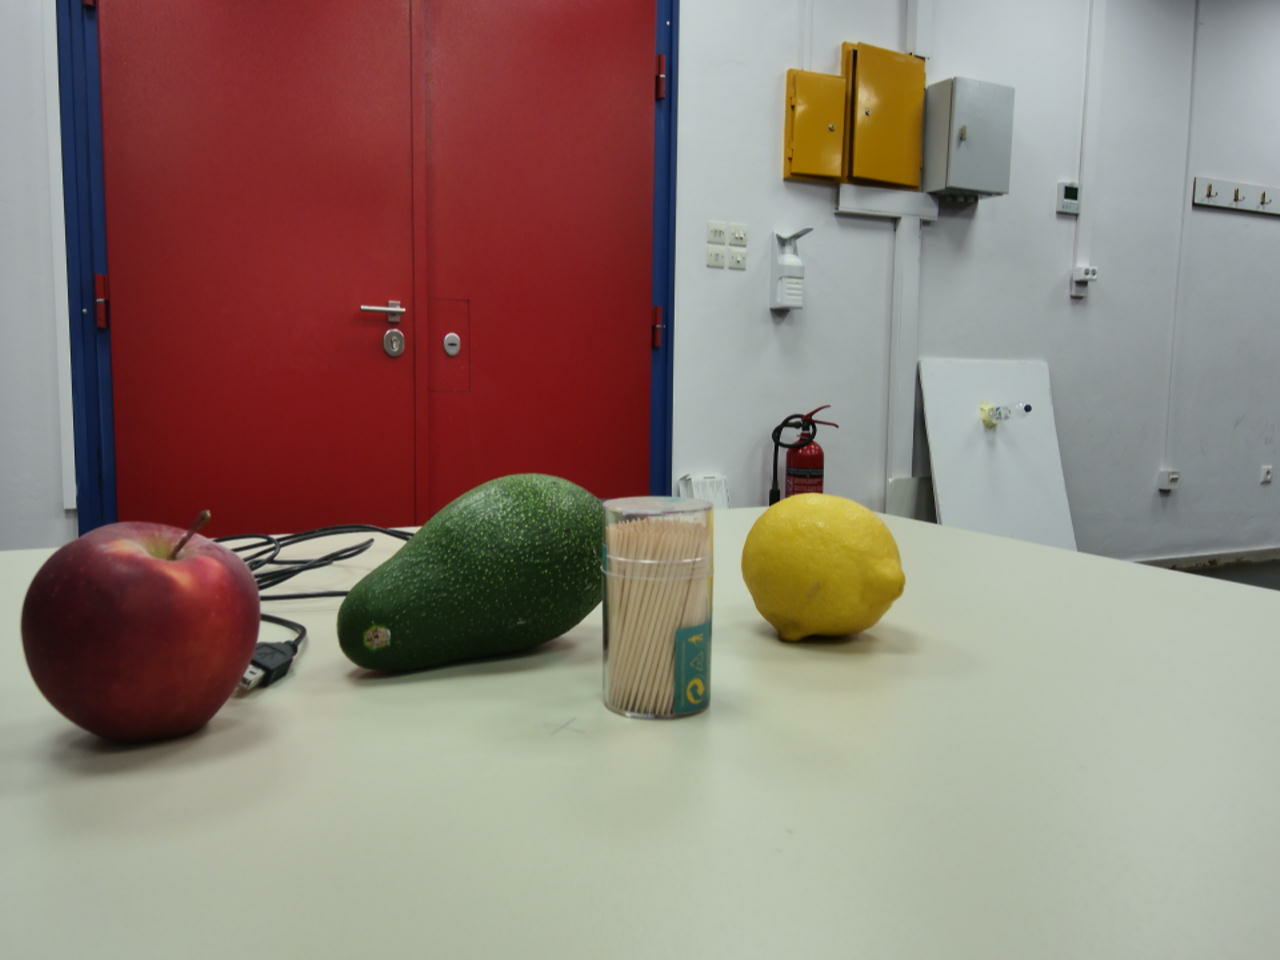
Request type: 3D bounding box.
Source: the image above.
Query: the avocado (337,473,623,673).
[{"bbox_3d":[-0.066,0.035,0.424,0.123,0.076,0.074,-2,4,-20],"label":"avocado"}]
